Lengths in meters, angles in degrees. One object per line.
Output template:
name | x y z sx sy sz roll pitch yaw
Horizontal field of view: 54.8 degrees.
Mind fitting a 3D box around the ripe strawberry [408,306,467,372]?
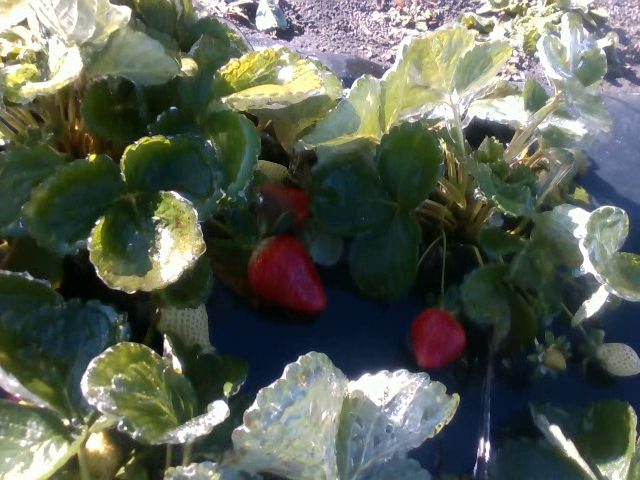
ripe strawberry | 0.070 0.062 0.363 0.039 0.047 0.040 39 -31 -6

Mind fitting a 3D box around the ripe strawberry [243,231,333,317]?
ripe strawberry | -0.015 0.023 0.360 0.044 0.056 0.040 -42 2 -21
